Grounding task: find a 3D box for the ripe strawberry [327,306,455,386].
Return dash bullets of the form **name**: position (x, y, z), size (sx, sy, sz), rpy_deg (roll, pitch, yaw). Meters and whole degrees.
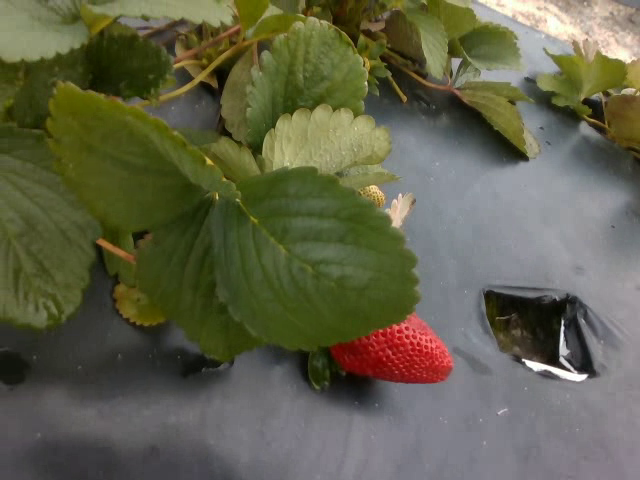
- **ripe strawberry**: position (0.033, 0.050, 0.274), size (0.064, 0.046, 0.049), rpy_deg (30, 12, 17)
